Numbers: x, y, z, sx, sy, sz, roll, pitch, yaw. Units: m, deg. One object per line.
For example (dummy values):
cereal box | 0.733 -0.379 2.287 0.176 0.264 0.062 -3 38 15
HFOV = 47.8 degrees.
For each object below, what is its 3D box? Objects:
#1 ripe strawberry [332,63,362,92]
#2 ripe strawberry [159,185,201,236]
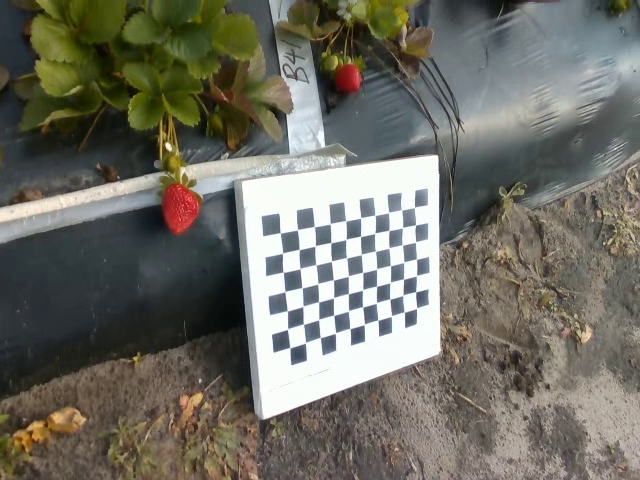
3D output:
ripe strawberry | 0.035 -0.182 0.804 0.037 0.031 0.048 5 42 -37
ripe strawberry | -0.123 -0.027 0.656 0.030 0.052 0.048 -16 -40 39
